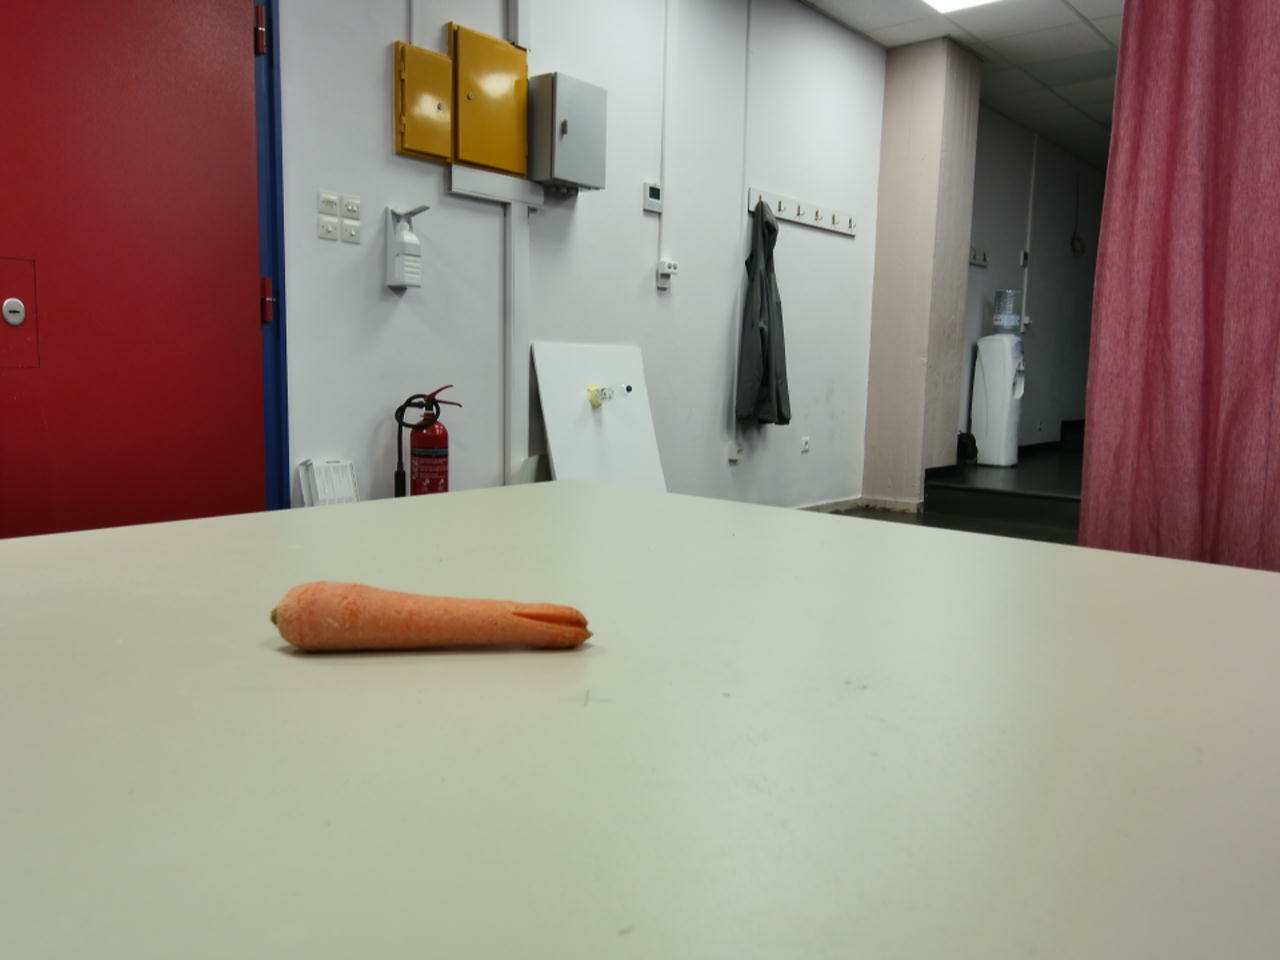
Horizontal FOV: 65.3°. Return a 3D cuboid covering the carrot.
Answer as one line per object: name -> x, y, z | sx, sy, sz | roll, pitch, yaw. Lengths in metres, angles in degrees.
carrot -> -0.089, 0.059, 0.434 | 0.136, 0.032, 0.030 | 0, 4, -4
